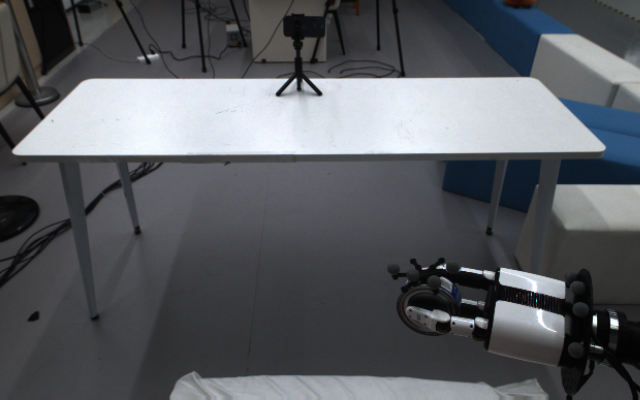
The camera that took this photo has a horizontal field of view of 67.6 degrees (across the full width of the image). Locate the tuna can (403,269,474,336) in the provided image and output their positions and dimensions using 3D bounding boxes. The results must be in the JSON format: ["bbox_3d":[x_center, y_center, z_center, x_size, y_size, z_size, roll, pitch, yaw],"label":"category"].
[{"bbox_3d":[0.153,0.144,0.669,0.085,0.085,0.034,14,27,16],"label":"tuna can"}]
